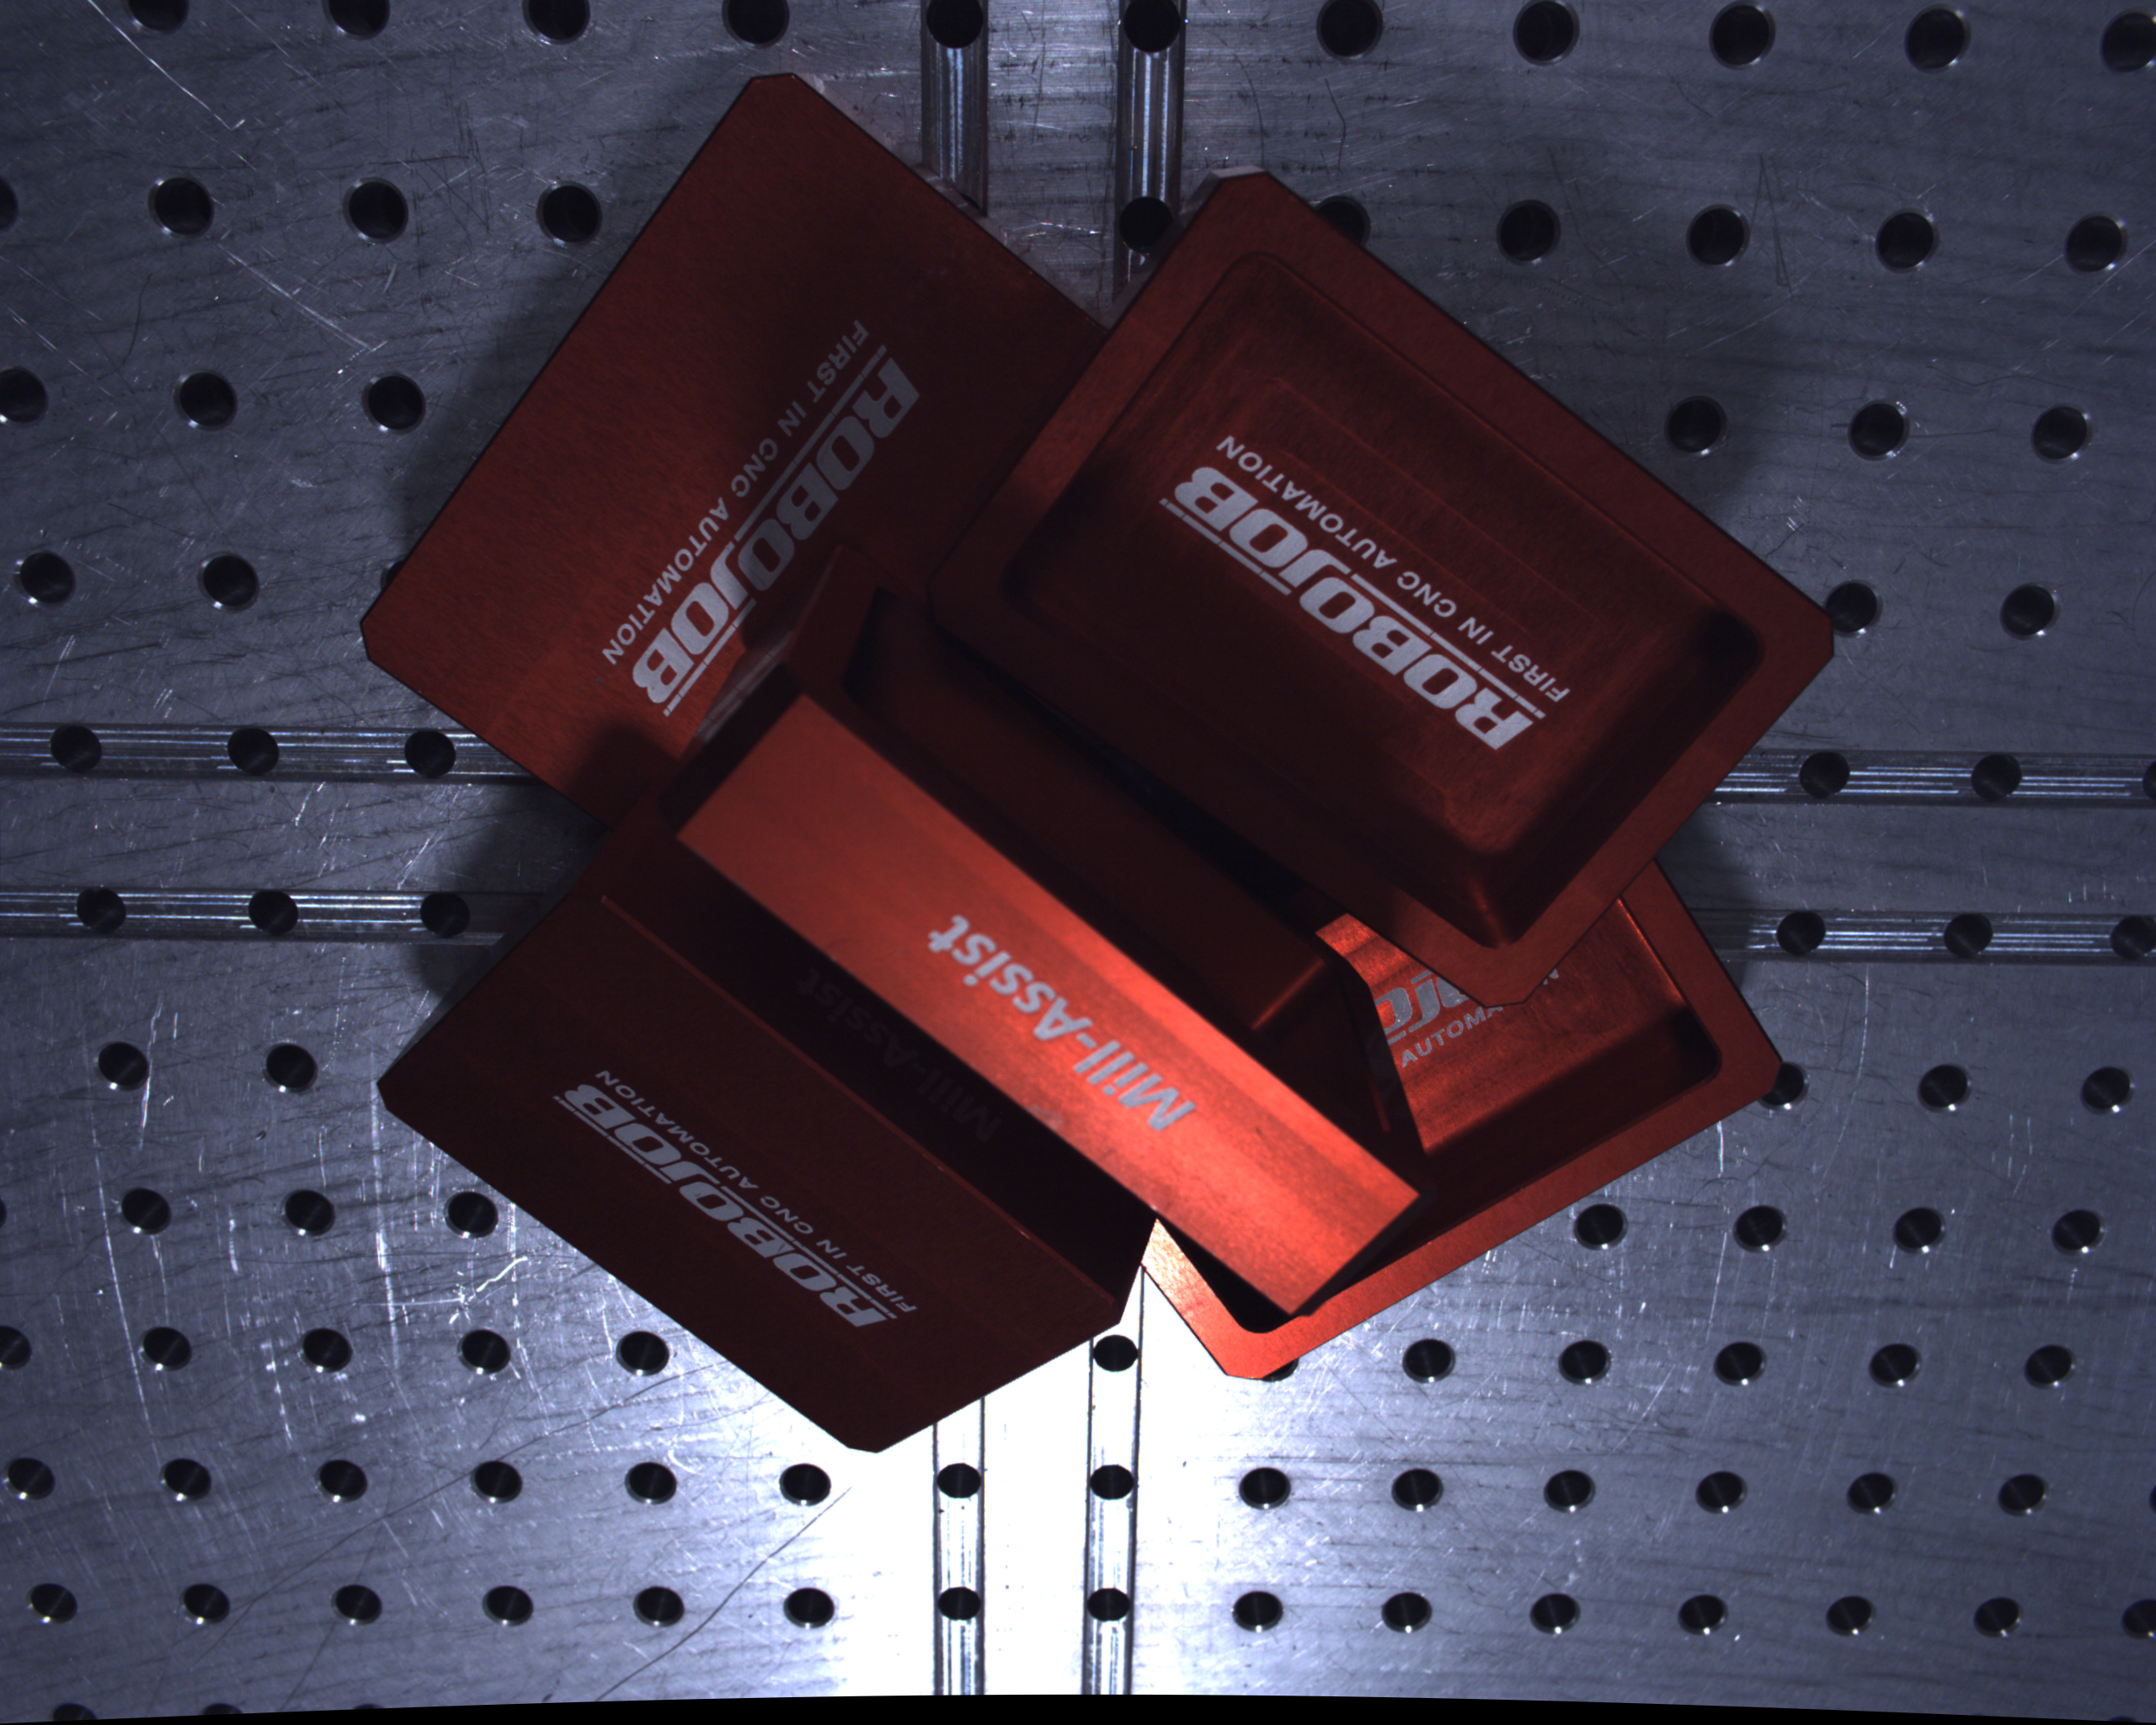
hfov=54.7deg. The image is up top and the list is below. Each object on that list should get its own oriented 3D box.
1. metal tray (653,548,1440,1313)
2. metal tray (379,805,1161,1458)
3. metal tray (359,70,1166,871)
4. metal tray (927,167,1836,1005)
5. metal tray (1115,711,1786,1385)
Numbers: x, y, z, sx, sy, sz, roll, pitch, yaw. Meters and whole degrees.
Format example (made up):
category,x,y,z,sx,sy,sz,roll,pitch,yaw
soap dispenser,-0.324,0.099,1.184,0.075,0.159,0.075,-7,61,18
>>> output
category,x,y,z,sx,sy,sz,roll,pitch,yaw
metal tray,-0.003,0.008,0.349,0.130,0.090,0.030,39,105,-14
metal tray,-0.061,0.058,0.411,0.130,0.030,0.090,40,130,-14
metal tray,-0.057,-0.066,0.385,0.090,0.030,0.130,37,106,-13
metal tray,0.051,-0.046,0.362,0.130,0.030,0.090,34,106,-12
metal tray,0.063,0.038,0.424,0.130,0.030,0.090,-32,107,10
